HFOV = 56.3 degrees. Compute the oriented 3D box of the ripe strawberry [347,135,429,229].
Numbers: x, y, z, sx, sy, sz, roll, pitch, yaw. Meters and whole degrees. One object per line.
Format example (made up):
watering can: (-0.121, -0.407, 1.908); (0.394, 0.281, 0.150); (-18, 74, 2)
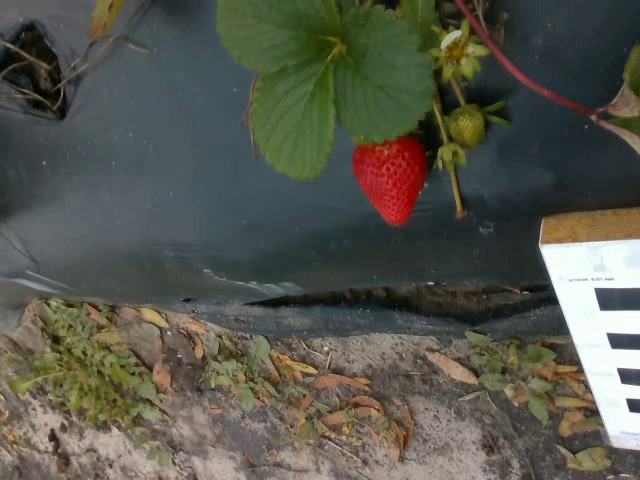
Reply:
ripe strawberry: (0.011, -0.008, 0.091); (0.018, 0.017, 0.014); (-9, 5, 22)
